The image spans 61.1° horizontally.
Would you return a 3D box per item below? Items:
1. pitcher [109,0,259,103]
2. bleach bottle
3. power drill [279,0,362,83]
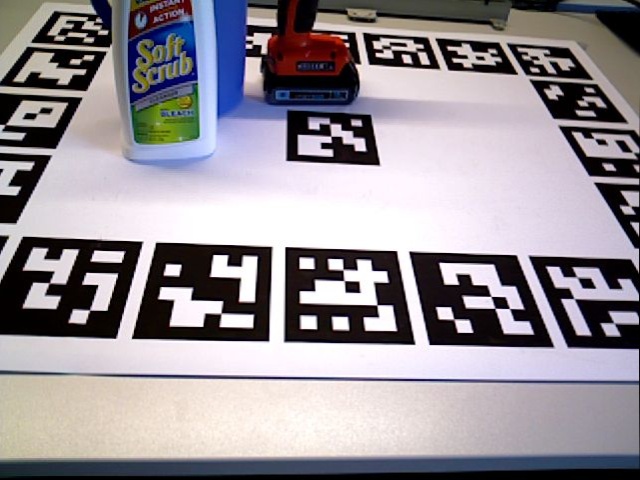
[{"bbox_3d":[-0.130,-0.265,0.549,0.185,0.248,0.132,-19,53,-23],"label":"pitcher"},{"bbox_3d":[-0.134,-0.207,0.465,0.101,0.257,0.067,-4,47,-10],"label":"bleach bottle"},{"bbox_3d":[0.034,-0.266,0.582,0.182,0.192,0.056,2,49,-13],"label":"power drill"}]
